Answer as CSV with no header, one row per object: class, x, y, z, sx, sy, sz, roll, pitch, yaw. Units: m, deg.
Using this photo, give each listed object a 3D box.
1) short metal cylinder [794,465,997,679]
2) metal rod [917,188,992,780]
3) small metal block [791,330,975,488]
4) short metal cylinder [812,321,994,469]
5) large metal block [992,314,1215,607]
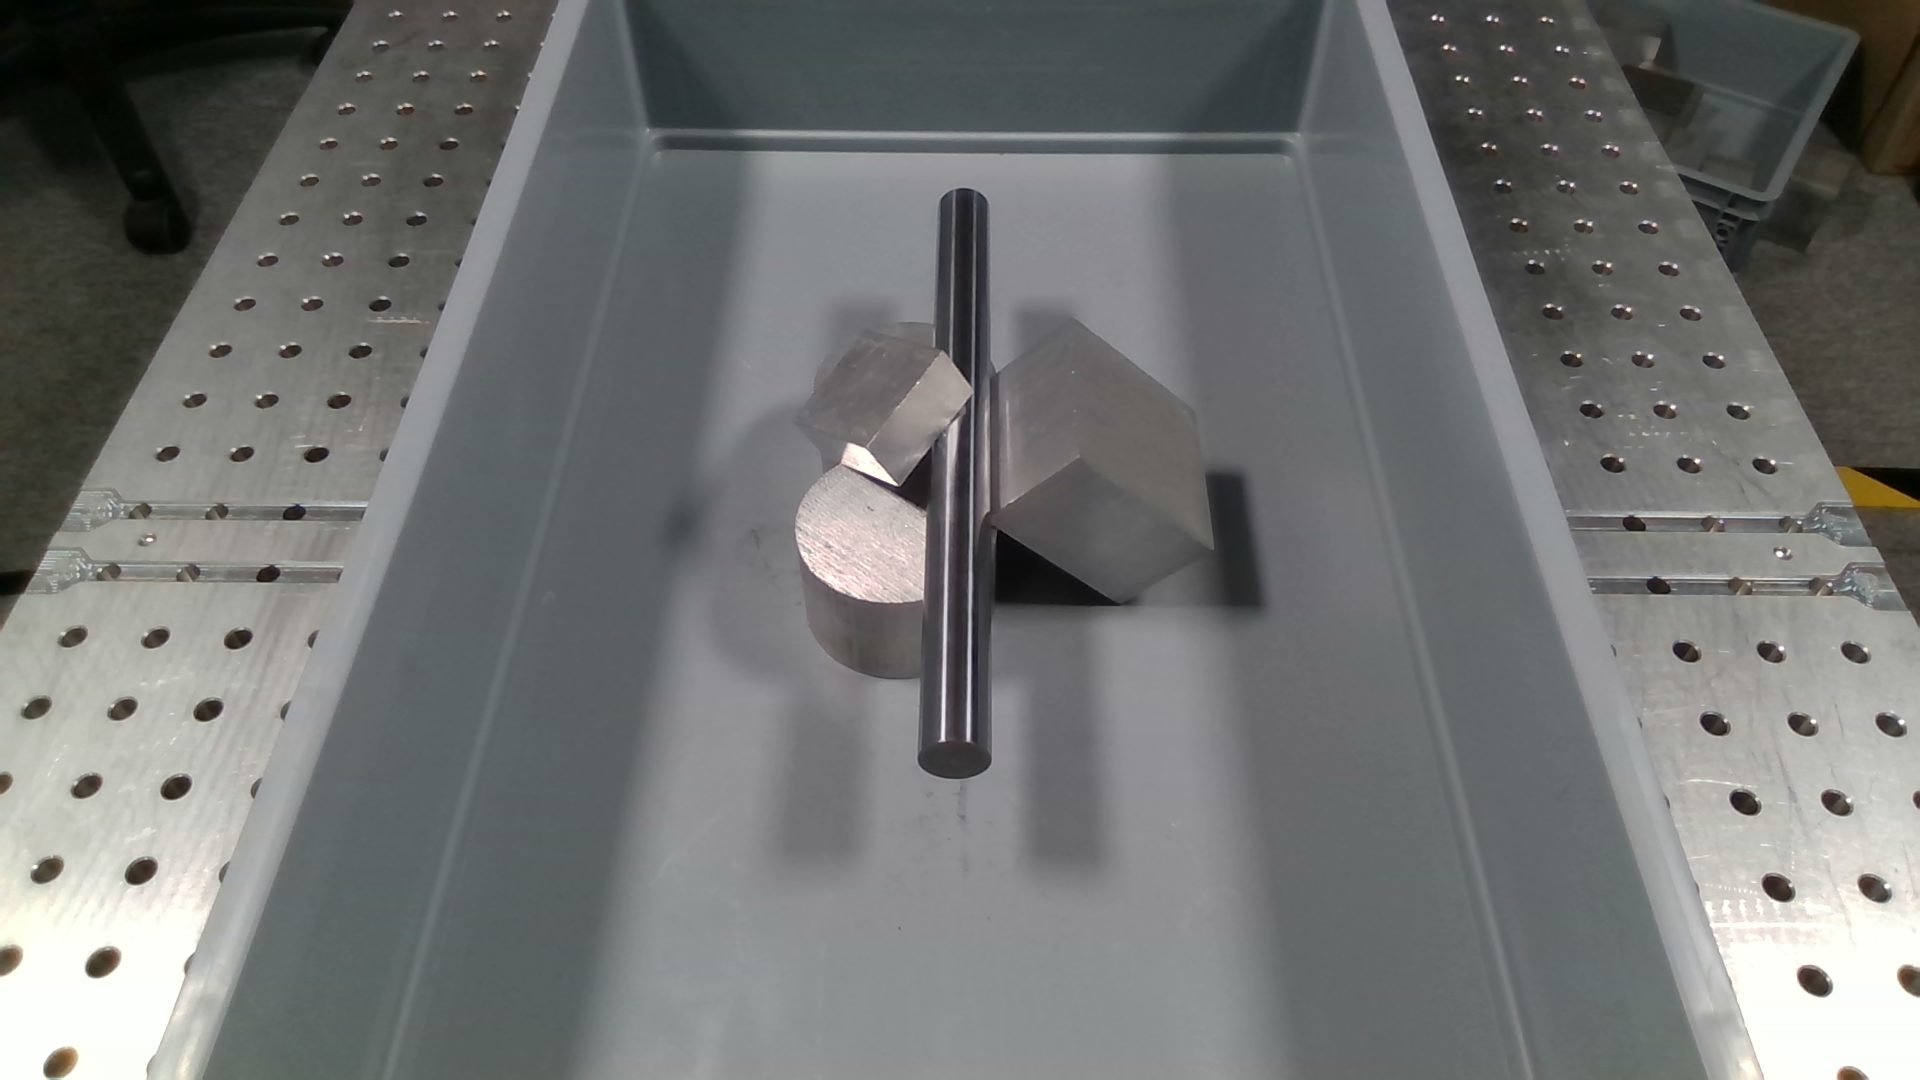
short metal cylinder,-0.025,0.010,0.562,0.080,0.050,0.080,0,50,0
metal rod,0.000,-0.041,0.555,0.025,0.025,0.299,0,50,0
small metal block,-0.031,-0.054,0.551,0.050,0.025,0.050,23,70,44
short metal cylinder,-0.024,-0.052,0.613,0.080,0.050,0.080,0,50,0
large metal block,0.056,-0.032,0.569,0.080,0.050,0.080,32,41,-31
